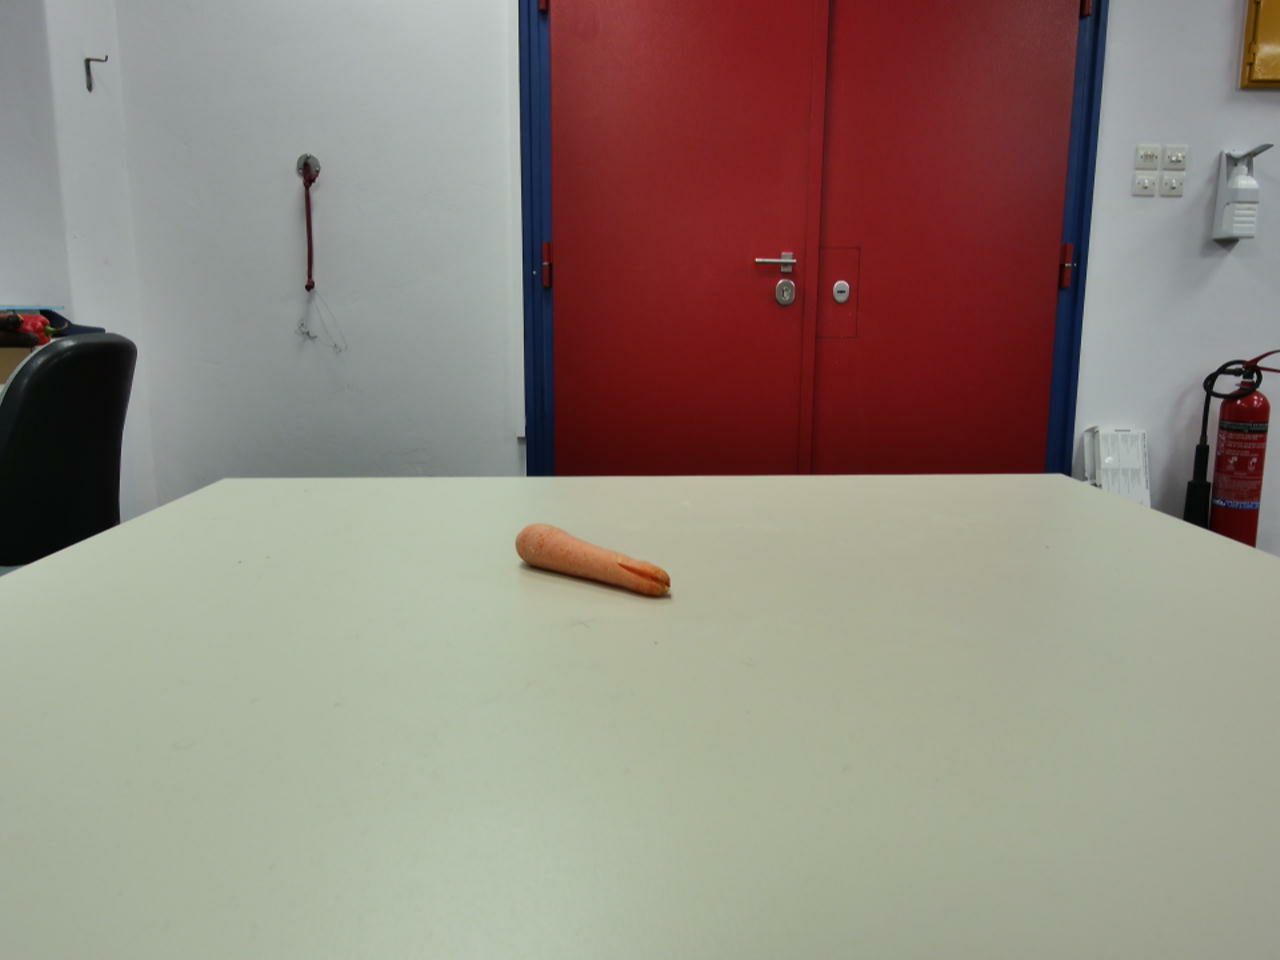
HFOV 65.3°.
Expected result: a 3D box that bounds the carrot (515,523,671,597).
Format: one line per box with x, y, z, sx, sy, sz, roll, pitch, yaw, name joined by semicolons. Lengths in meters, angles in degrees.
-0.034;0.049;0.646;0.136;0.032;0.030;9;11;44;carrot
